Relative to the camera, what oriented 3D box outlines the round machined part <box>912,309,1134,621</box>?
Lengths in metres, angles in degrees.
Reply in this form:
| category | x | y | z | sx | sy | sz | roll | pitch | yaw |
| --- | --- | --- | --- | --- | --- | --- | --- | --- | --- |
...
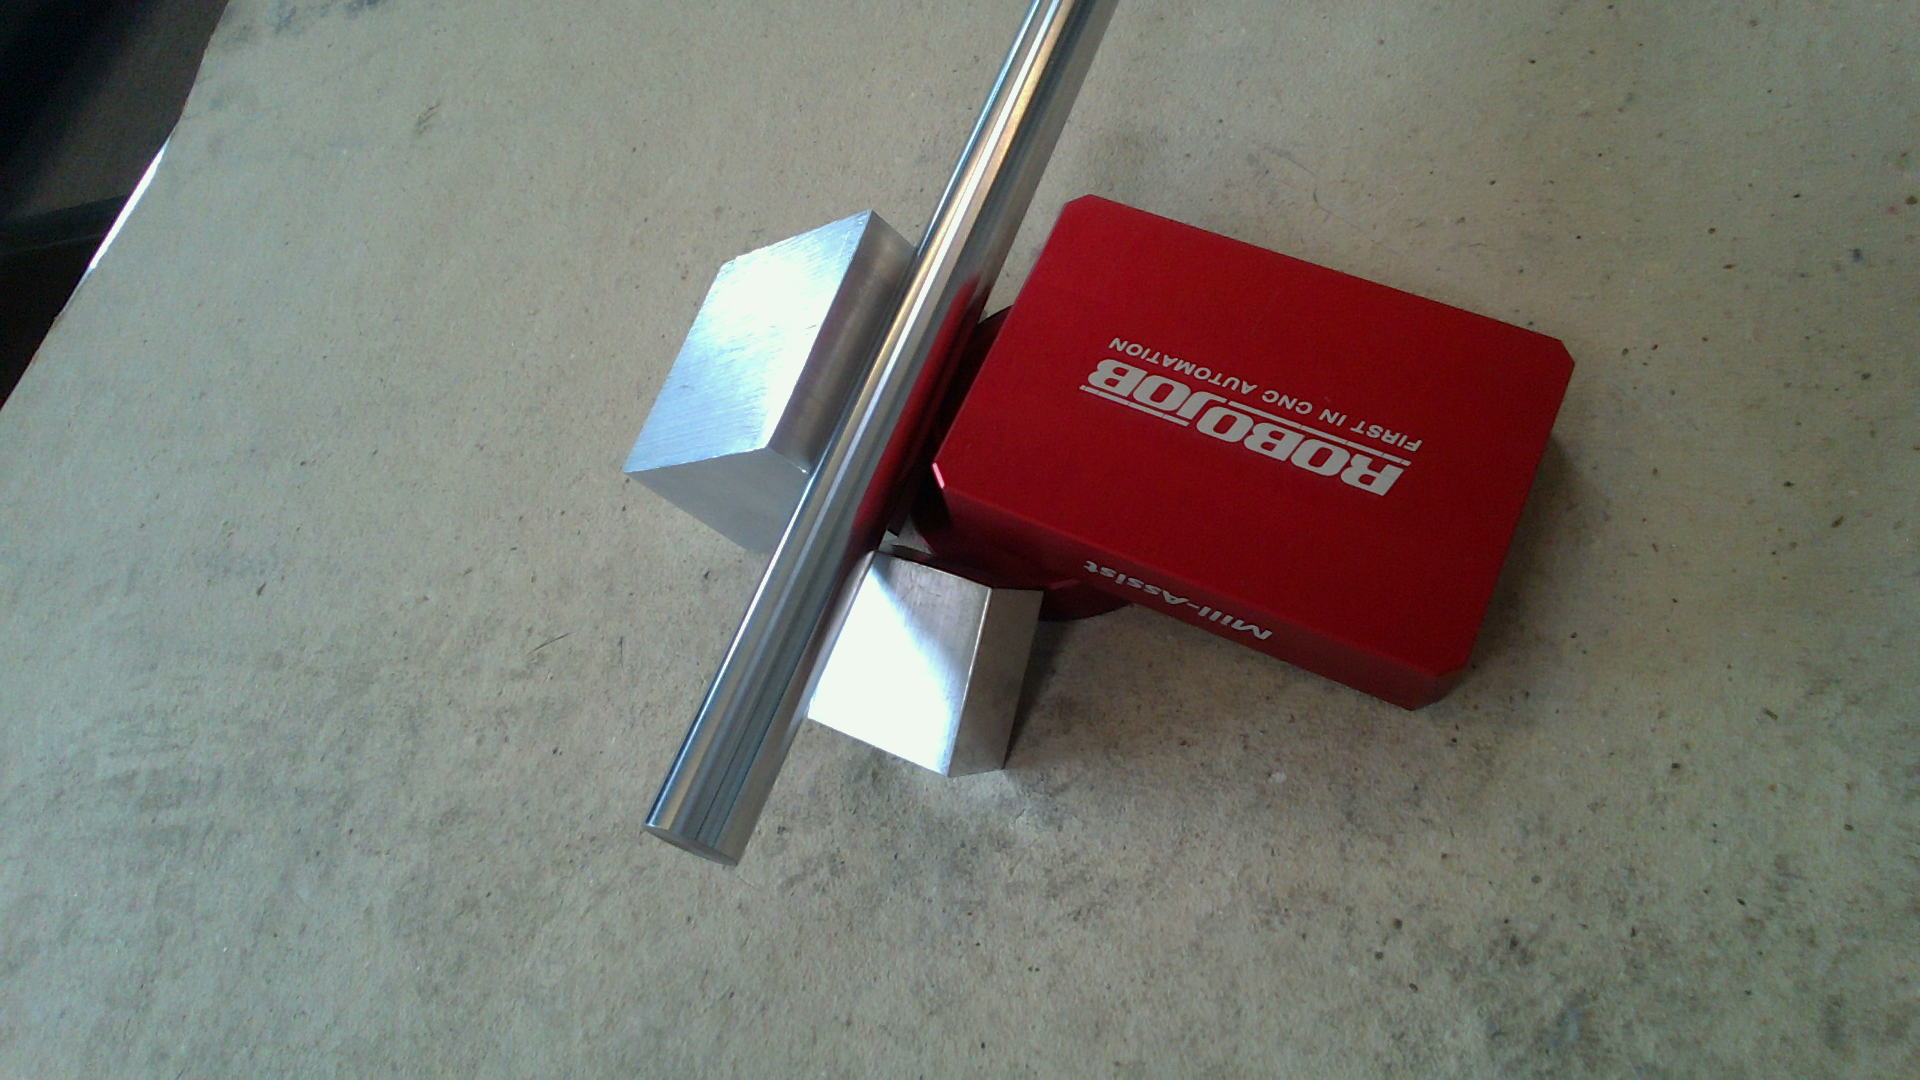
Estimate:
| category | x | y | z | sx | sy | sz | roll | pitch | yaw |
| --- | --- | --- | --- | --- | --- | --- | --- | --- | --- |
| round machined part | 0.027 | -0.030 | 0.386 | 0.098 | 0.042 | 0.098 | -13 | 56 | 21 |

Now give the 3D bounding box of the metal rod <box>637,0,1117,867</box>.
| category | x | y | z | sx | sy | sz | roll | pitch | yaw |
| --- | --- | --- | --- | --- | --- | --- | --- | --- | --- |
| metal rod | -0.011 | -0.056 | 0.380 | 0.025 | 0.025 | 0.300 | 8 | 63 | 32 |

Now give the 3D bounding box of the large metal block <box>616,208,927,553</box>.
| category | x | y | z | sx | sy | sz | roll | pitch | yaw |
| --- | --- | --- | --- | --- | --- | --- | --- | --- | --- |
| large metal block | -0.048 | -0.045 | 0.417 | 0.080 | 0.050 | 0.080 | -4 | 58 | 48 |

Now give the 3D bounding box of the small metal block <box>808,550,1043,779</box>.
| category | x | y | z | sx | sy | sz | roll | pitch | yaw |
| --- | --- | --- | --- | --- | --- | --- | --- | --- | --- |
| small metal block | -0.010 | 0.031 | 0.368 | 0.050 | 0.025 | 0.050 | 16 | 96 | 35 |

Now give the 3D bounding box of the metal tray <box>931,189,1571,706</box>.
| category | x | y | z | sx | sy | sz | roll | pitch | yaw |
| --- | --- | --- | --- | --- | --- | --- | --- | --- | --- |
| metal tray | 0.070 | -0.026 | 0.340 | 0.130 | 0.030 | 0.090 | 21 | 73 | 15 |
